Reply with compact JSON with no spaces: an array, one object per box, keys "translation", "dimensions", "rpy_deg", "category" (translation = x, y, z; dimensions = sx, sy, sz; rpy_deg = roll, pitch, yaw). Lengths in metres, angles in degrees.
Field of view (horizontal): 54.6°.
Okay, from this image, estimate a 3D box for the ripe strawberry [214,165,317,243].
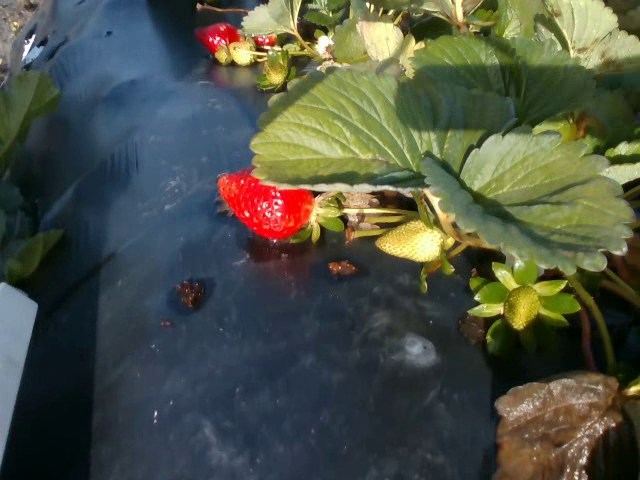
[{"translation":[-0.031,-0.019,0.264],"dimensions":[0.054,0.047,0.038],"rpy_deg":[10,-41,-4],"category":"ripe strawberry"}]
